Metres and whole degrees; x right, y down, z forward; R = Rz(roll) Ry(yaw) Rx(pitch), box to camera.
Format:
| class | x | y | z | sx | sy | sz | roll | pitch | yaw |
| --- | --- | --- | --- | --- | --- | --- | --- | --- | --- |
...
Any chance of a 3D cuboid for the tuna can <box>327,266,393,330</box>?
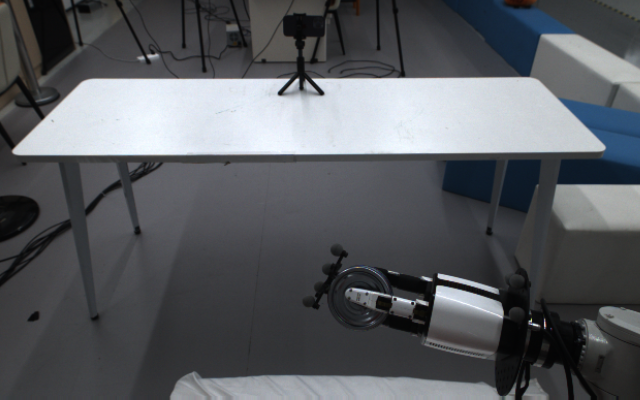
| class | x | y | z | sx | sy | sz | roll | pitch | yaw |
| --- | --- | --- | --- | --- | --- | --- | --- | --- | --- |
| tuna can | 0.057 | 0.128 | 0.646 | 0.085 | 0.085 | 0.034 | 9 | -5 | 10 |
